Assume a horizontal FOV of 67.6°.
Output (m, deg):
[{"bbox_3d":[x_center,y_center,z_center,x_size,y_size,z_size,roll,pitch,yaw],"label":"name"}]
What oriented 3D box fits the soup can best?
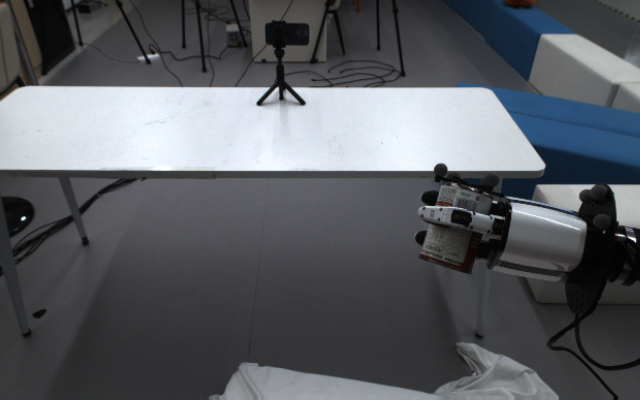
[{"bbox_3d":[0.175,0.034,0.615,0.067,0.101,0.067,17,-1,0],"label":"soup can"}]
